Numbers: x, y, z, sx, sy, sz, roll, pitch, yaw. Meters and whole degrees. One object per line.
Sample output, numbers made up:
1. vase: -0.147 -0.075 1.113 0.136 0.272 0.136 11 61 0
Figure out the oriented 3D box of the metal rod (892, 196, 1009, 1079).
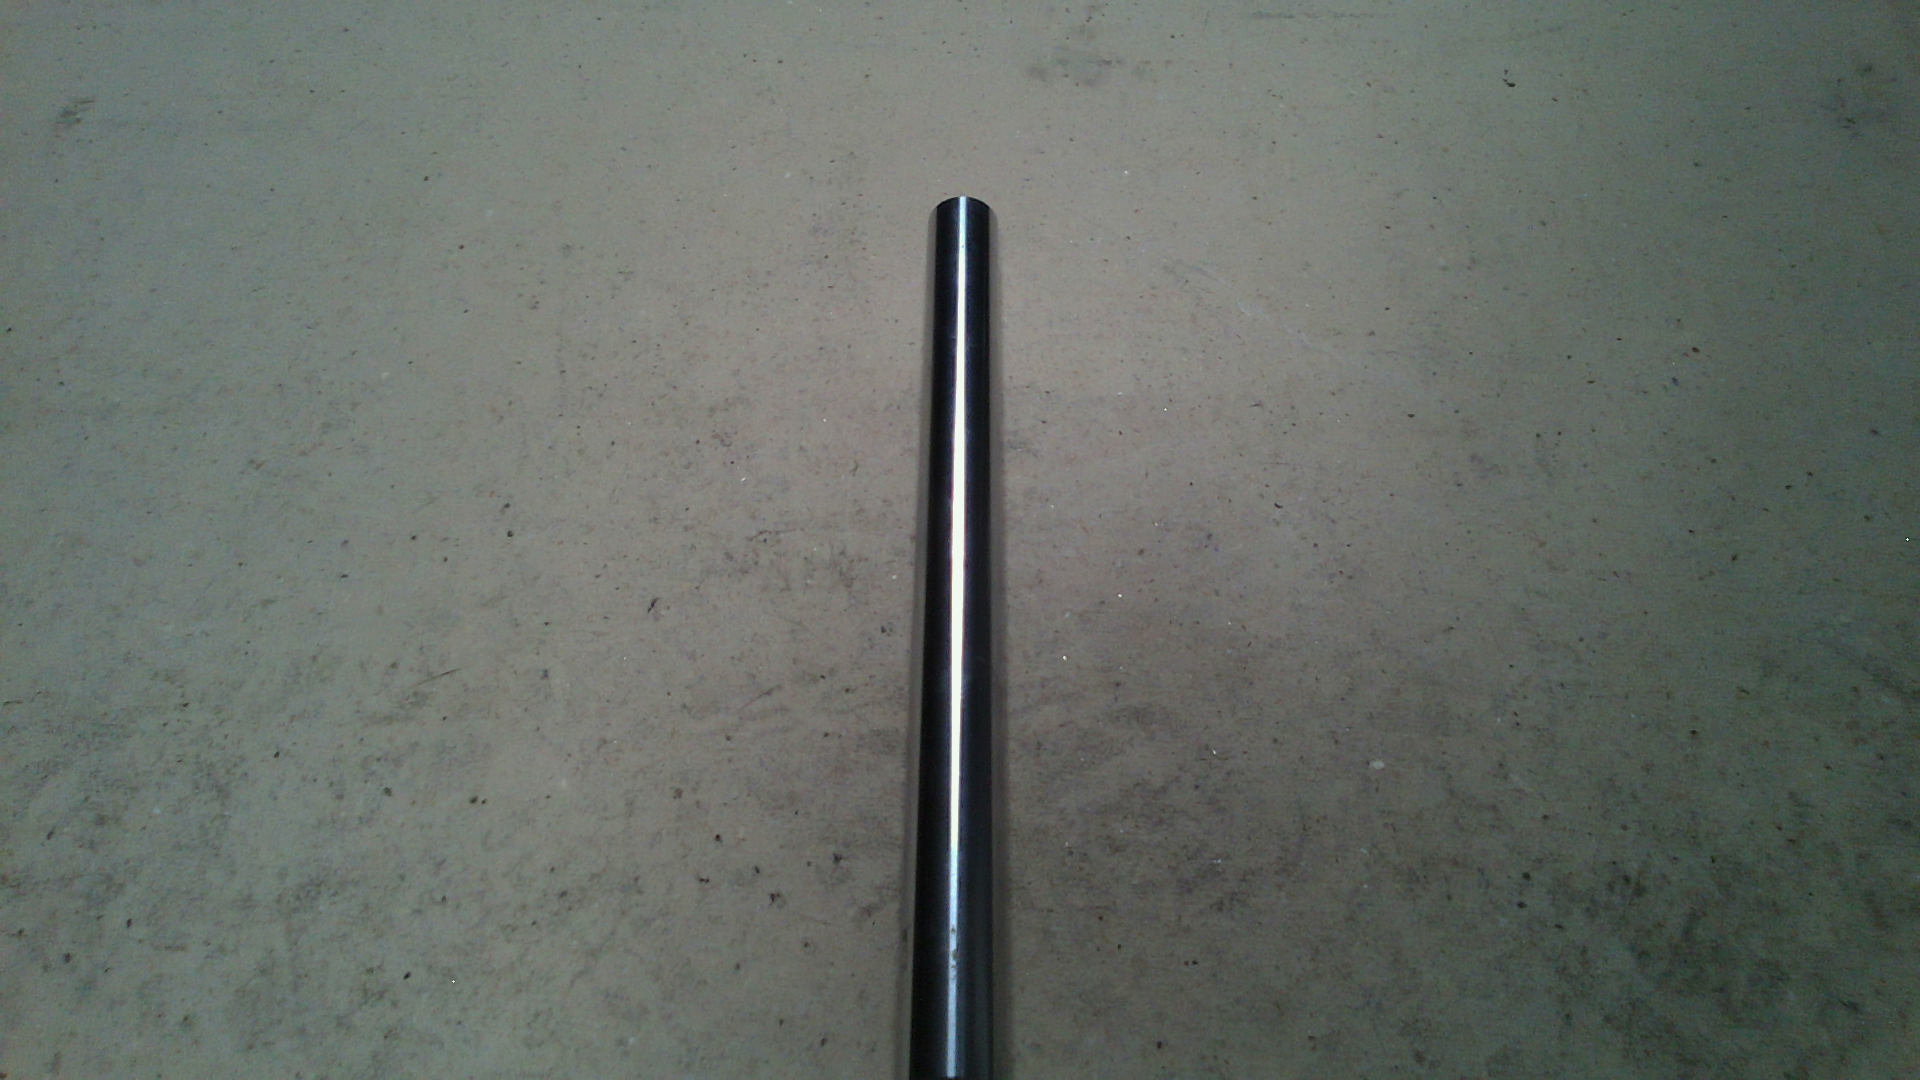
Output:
1. metal rod: -0.001 0.004 0.388 0.025 0.025 0.300 0 50 0
